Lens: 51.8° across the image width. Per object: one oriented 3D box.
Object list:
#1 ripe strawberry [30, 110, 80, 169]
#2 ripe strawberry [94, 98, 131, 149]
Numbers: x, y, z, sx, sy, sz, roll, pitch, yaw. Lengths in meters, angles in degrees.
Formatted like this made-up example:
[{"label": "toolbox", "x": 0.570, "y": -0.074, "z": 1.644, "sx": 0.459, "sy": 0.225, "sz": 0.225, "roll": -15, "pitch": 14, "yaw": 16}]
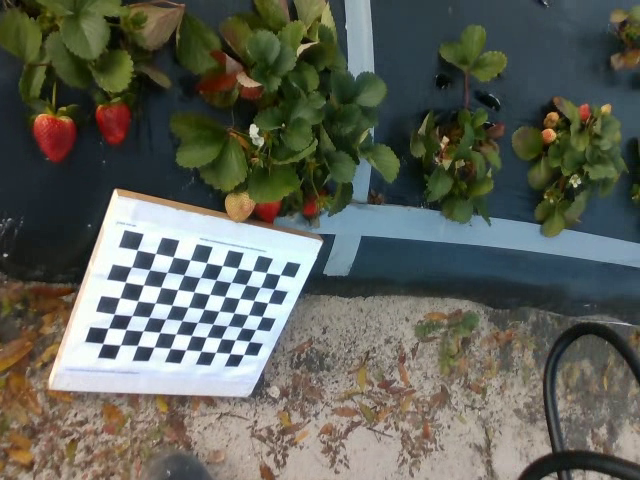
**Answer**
[{"label": "ripe strawberry", "x": -0.292, "y": -0.110, "z": 0.724, "sx": 0.050, "sy": 0.061, "sz": 0.045, "roll": 2, "pitch": -9, "yaw": -27}, {"label": "ripe strawberry", "x": -0.235, "y": -0.133, "z": 0.751, "sx": 0.042, "sy": 0.053, "sz": 0.034, "roll": -3, "pitch": -4, "yaw": -24}]
